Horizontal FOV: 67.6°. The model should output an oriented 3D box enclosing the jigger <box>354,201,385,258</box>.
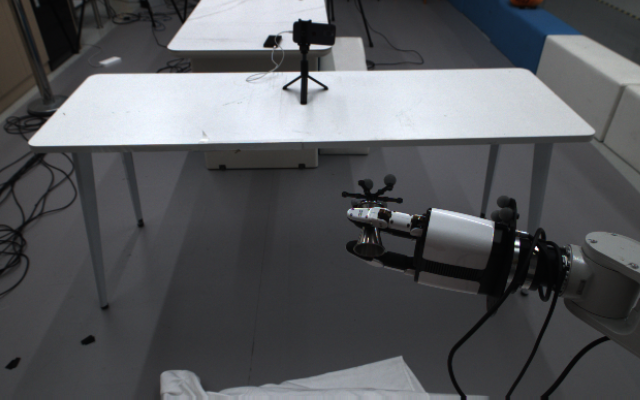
[{"bbox_3d":[0.068,0.038,0.683,0.043,0.043,0.071,5,60,5],"label":"jigger"}]
